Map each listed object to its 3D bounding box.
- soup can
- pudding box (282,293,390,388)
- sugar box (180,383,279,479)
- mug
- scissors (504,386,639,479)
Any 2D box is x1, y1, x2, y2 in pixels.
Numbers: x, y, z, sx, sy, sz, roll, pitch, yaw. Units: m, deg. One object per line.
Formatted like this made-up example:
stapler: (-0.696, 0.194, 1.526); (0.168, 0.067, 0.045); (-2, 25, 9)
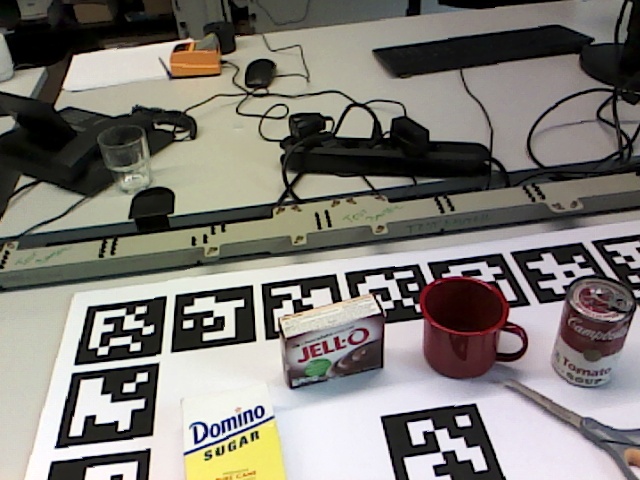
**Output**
soup can: (0.285, 0.106, 0.661); (0.068, 0.101, 0.068); (-4, 38, 3)
pudding box: (0.017, 0.109, 0.677); (0.113, 0.090, 0.039); (-13, 47, -10)
sugar box: (-0.085, 0.227, 0.593); (0.093, 0.045, 0.177); (-10, 42, -4)
mug: (0.165, 0.097, 0.689); (0.093, 0.081, 0.118); (-35, 47, -28)
scissors: (0.275, 0.195, 0.608); (0.204, 0.016, 0.087); (28, 59, 32)
